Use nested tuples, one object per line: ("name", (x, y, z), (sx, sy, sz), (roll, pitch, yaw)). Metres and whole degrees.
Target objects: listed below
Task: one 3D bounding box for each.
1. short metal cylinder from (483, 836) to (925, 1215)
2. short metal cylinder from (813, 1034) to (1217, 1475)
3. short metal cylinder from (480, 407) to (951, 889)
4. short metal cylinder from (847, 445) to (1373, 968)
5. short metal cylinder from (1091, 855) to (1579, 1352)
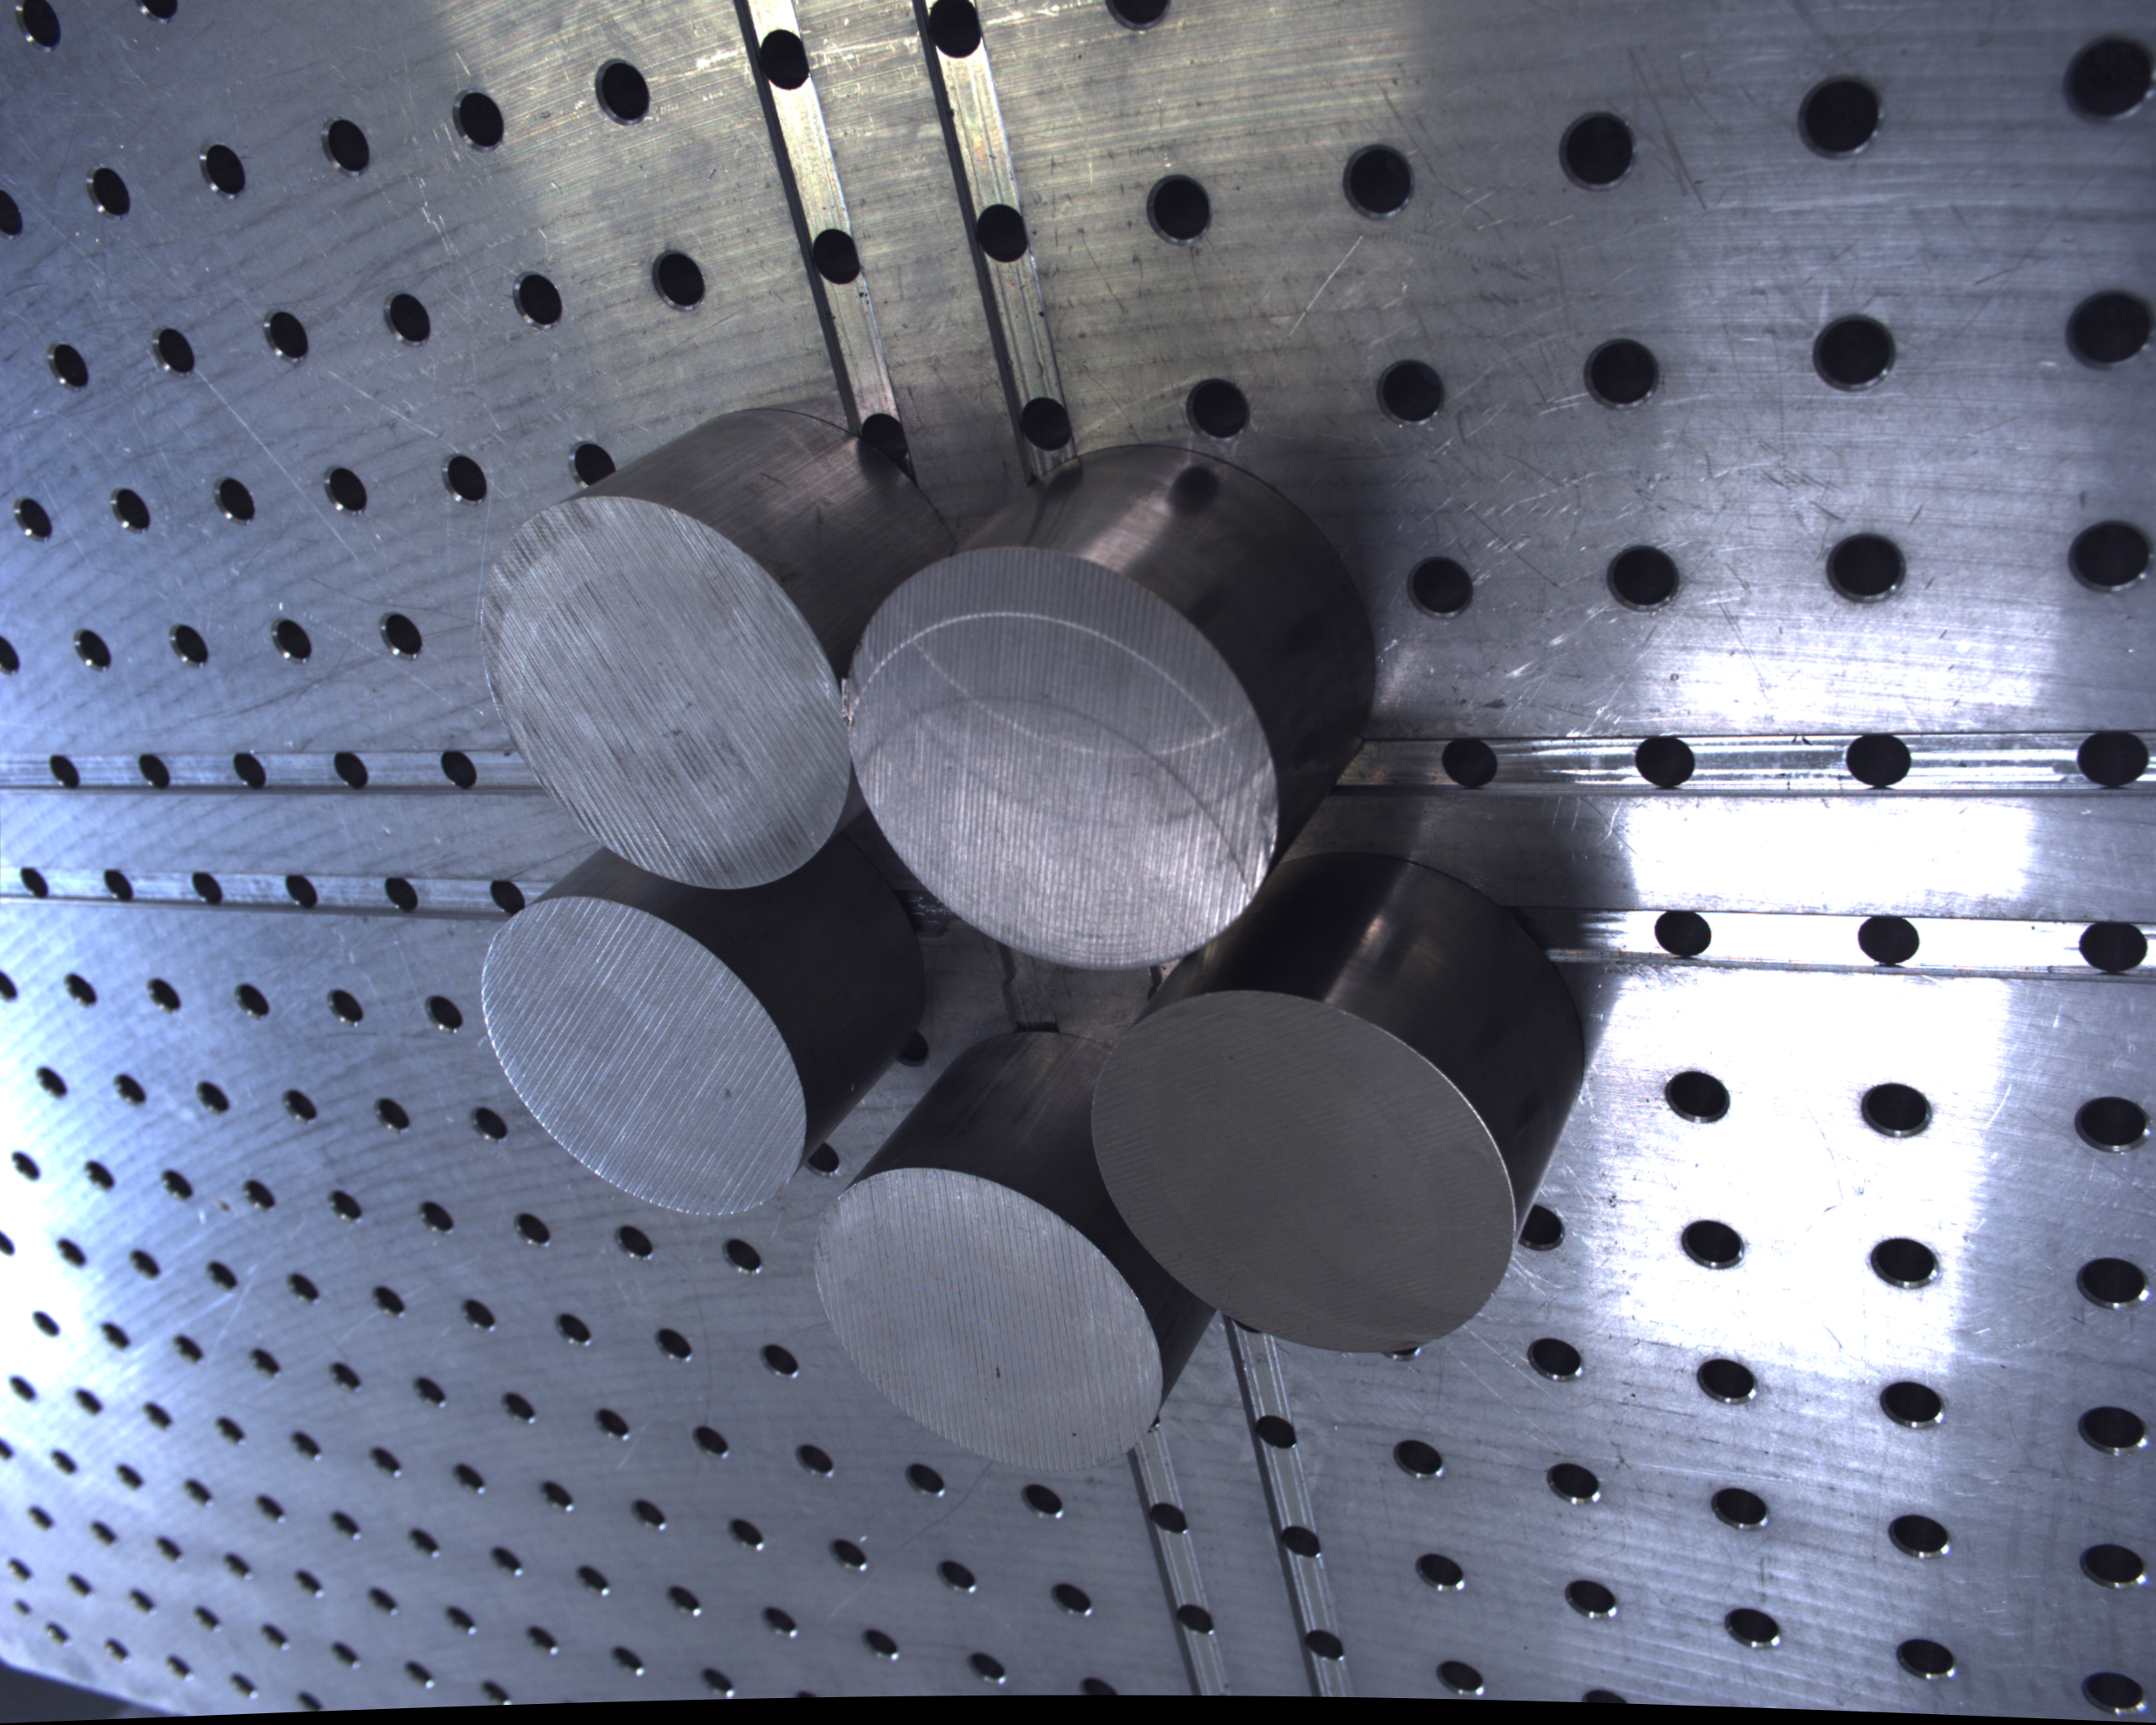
("short metal cylinder", (-0.081, 0.030, 0.456), (0.080, 0.050, 0.079), (13, 124, 20))
("short metal cylinder", (-0.009, 0.084, 0.451), (0.080, 0.050, 0.079), (14, 124, 21))
("short metal cylinder", (-0.067, -0.042, 0.404), (0.080, 0.050, 0.079), (13, 124, 20))
("short metal cylinder", (0.006, -0.028, 0.373), (0.080, 0.050, 0.079), (13, 124, 21))
("short metal cylinder", (0.049, 0.045, 0.396), (0.080, 0.050, 0.079), (13, 125, 20))
